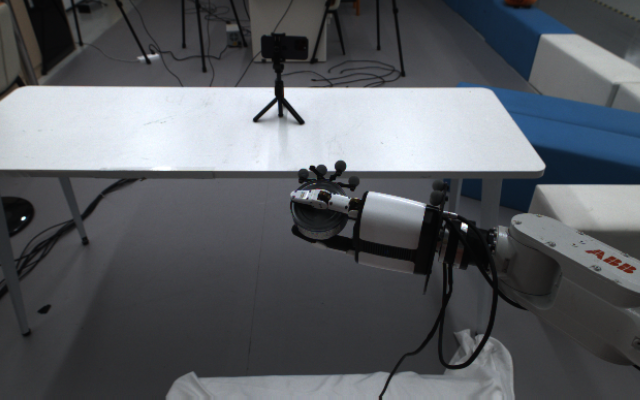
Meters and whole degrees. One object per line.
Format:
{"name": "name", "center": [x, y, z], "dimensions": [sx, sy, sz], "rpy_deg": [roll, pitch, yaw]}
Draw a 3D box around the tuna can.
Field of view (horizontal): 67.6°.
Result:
{"name": "tuna can", "center": [0.000, 0.013, 0.713], "dimensions": [0.085, 0.034, 0.085], "rpy_deg": [-2, 58, 4]}
